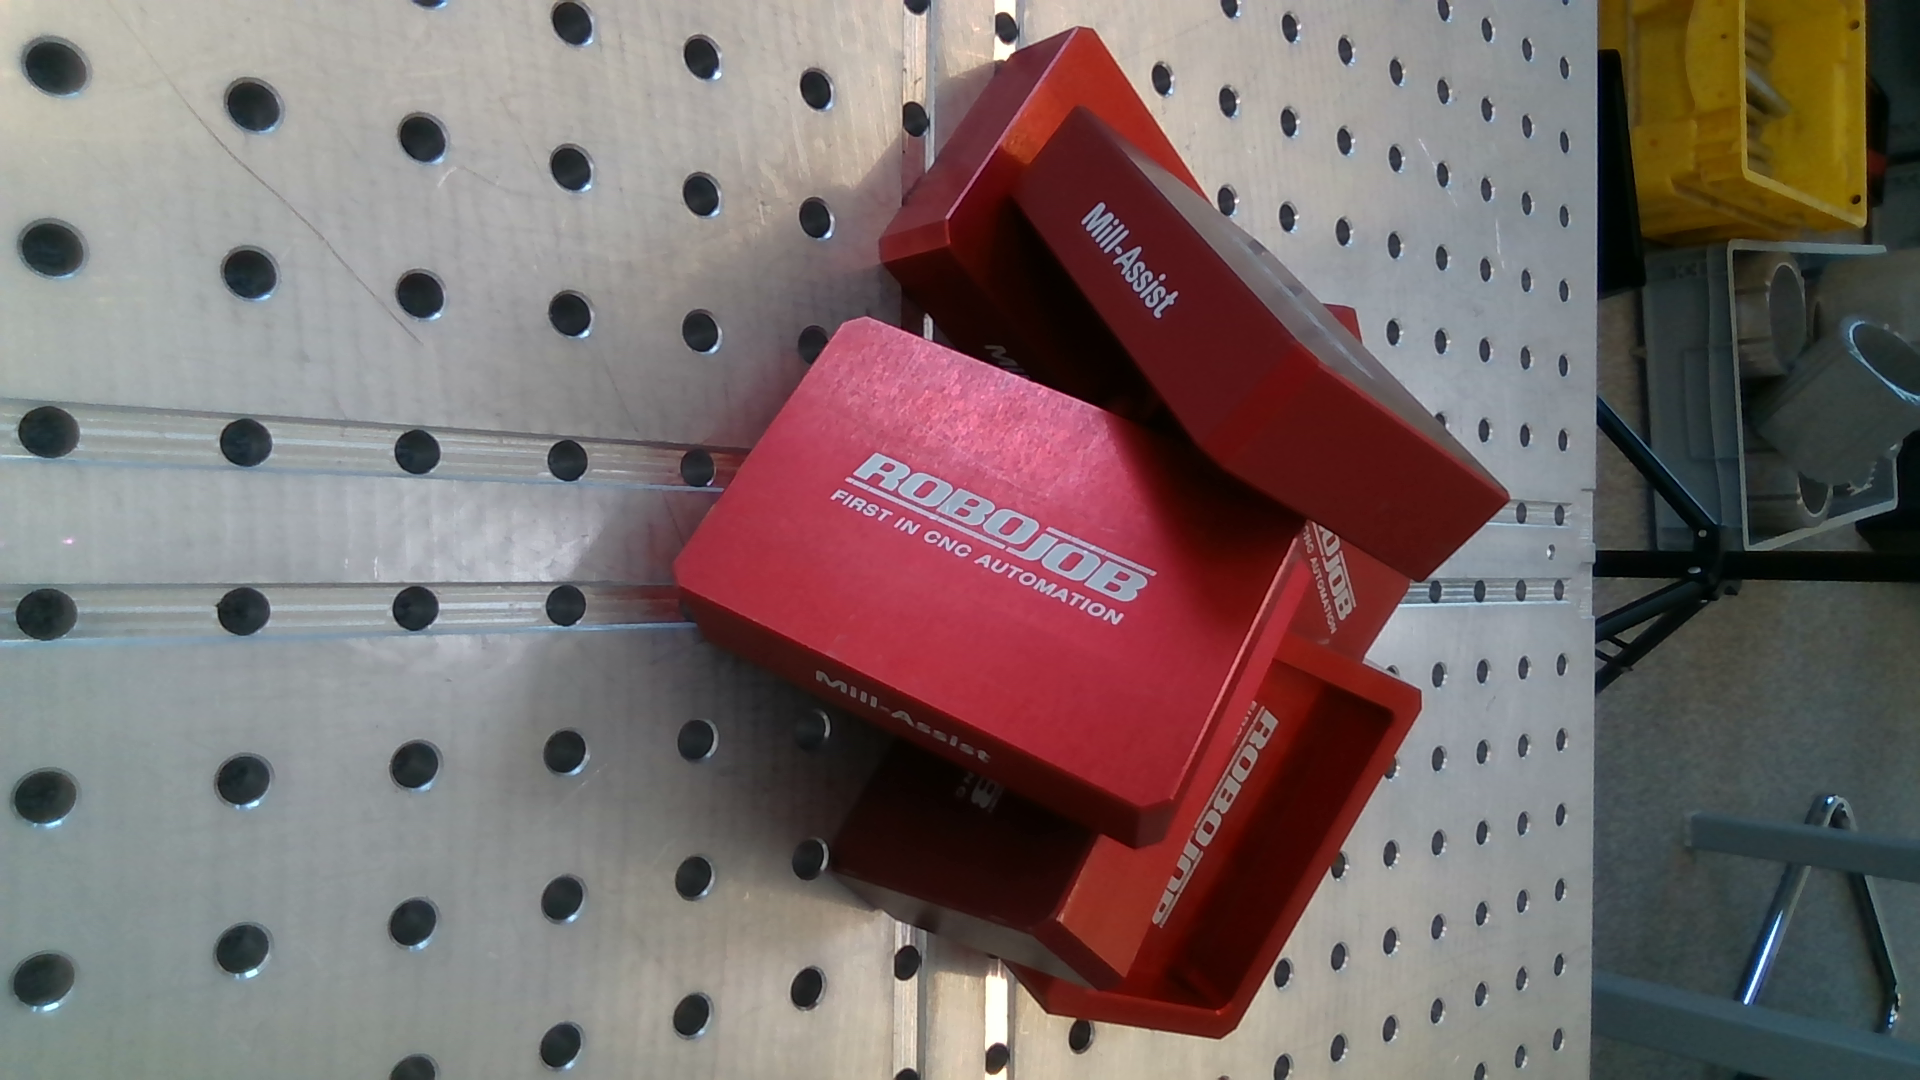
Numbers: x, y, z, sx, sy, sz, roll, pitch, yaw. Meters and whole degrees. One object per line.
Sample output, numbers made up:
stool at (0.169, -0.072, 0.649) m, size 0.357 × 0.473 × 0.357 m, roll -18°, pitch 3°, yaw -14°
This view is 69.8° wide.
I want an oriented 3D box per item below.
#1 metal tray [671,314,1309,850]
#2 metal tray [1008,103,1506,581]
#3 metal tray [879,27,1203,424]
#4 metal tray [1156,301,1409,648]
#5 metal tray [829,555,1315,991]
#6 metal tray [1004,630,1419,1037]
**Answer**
metal tray at (0.008, 0.006, 0.338) m, size 0.090 × 0.130 × 0.030 m, roll -59°, pitch 162°, yaw -24°
metal tray at (0.073, -0.054, 0.357) m, size 0.090 × 0.130 × 0.030 m, roll 24°, pitch 116°, yaw -38°
metal tray at (0.044, -0.077, 0.428) m, size 0.130 × 0.030 × 0.090 m, roll 46°, pitch 63°, yaw -30°
metal tray at (0.107, -0.003, 0.457) m, size 0.090 × 0.030 × 0.130 m, roll -49°, pitch 133°, yaw -25°
metal tray at (0.030, 0.047, 0.375) m, size 0.030 × 0.090 × 0.130 m, roll 46°, pitch 62°, yaw -31°
metal tray at (0.077, 0.086, 0.424) m, size 0.090 × 0.030 × 0.130 m, roll 23°, pitch 98°, yaw -38°
